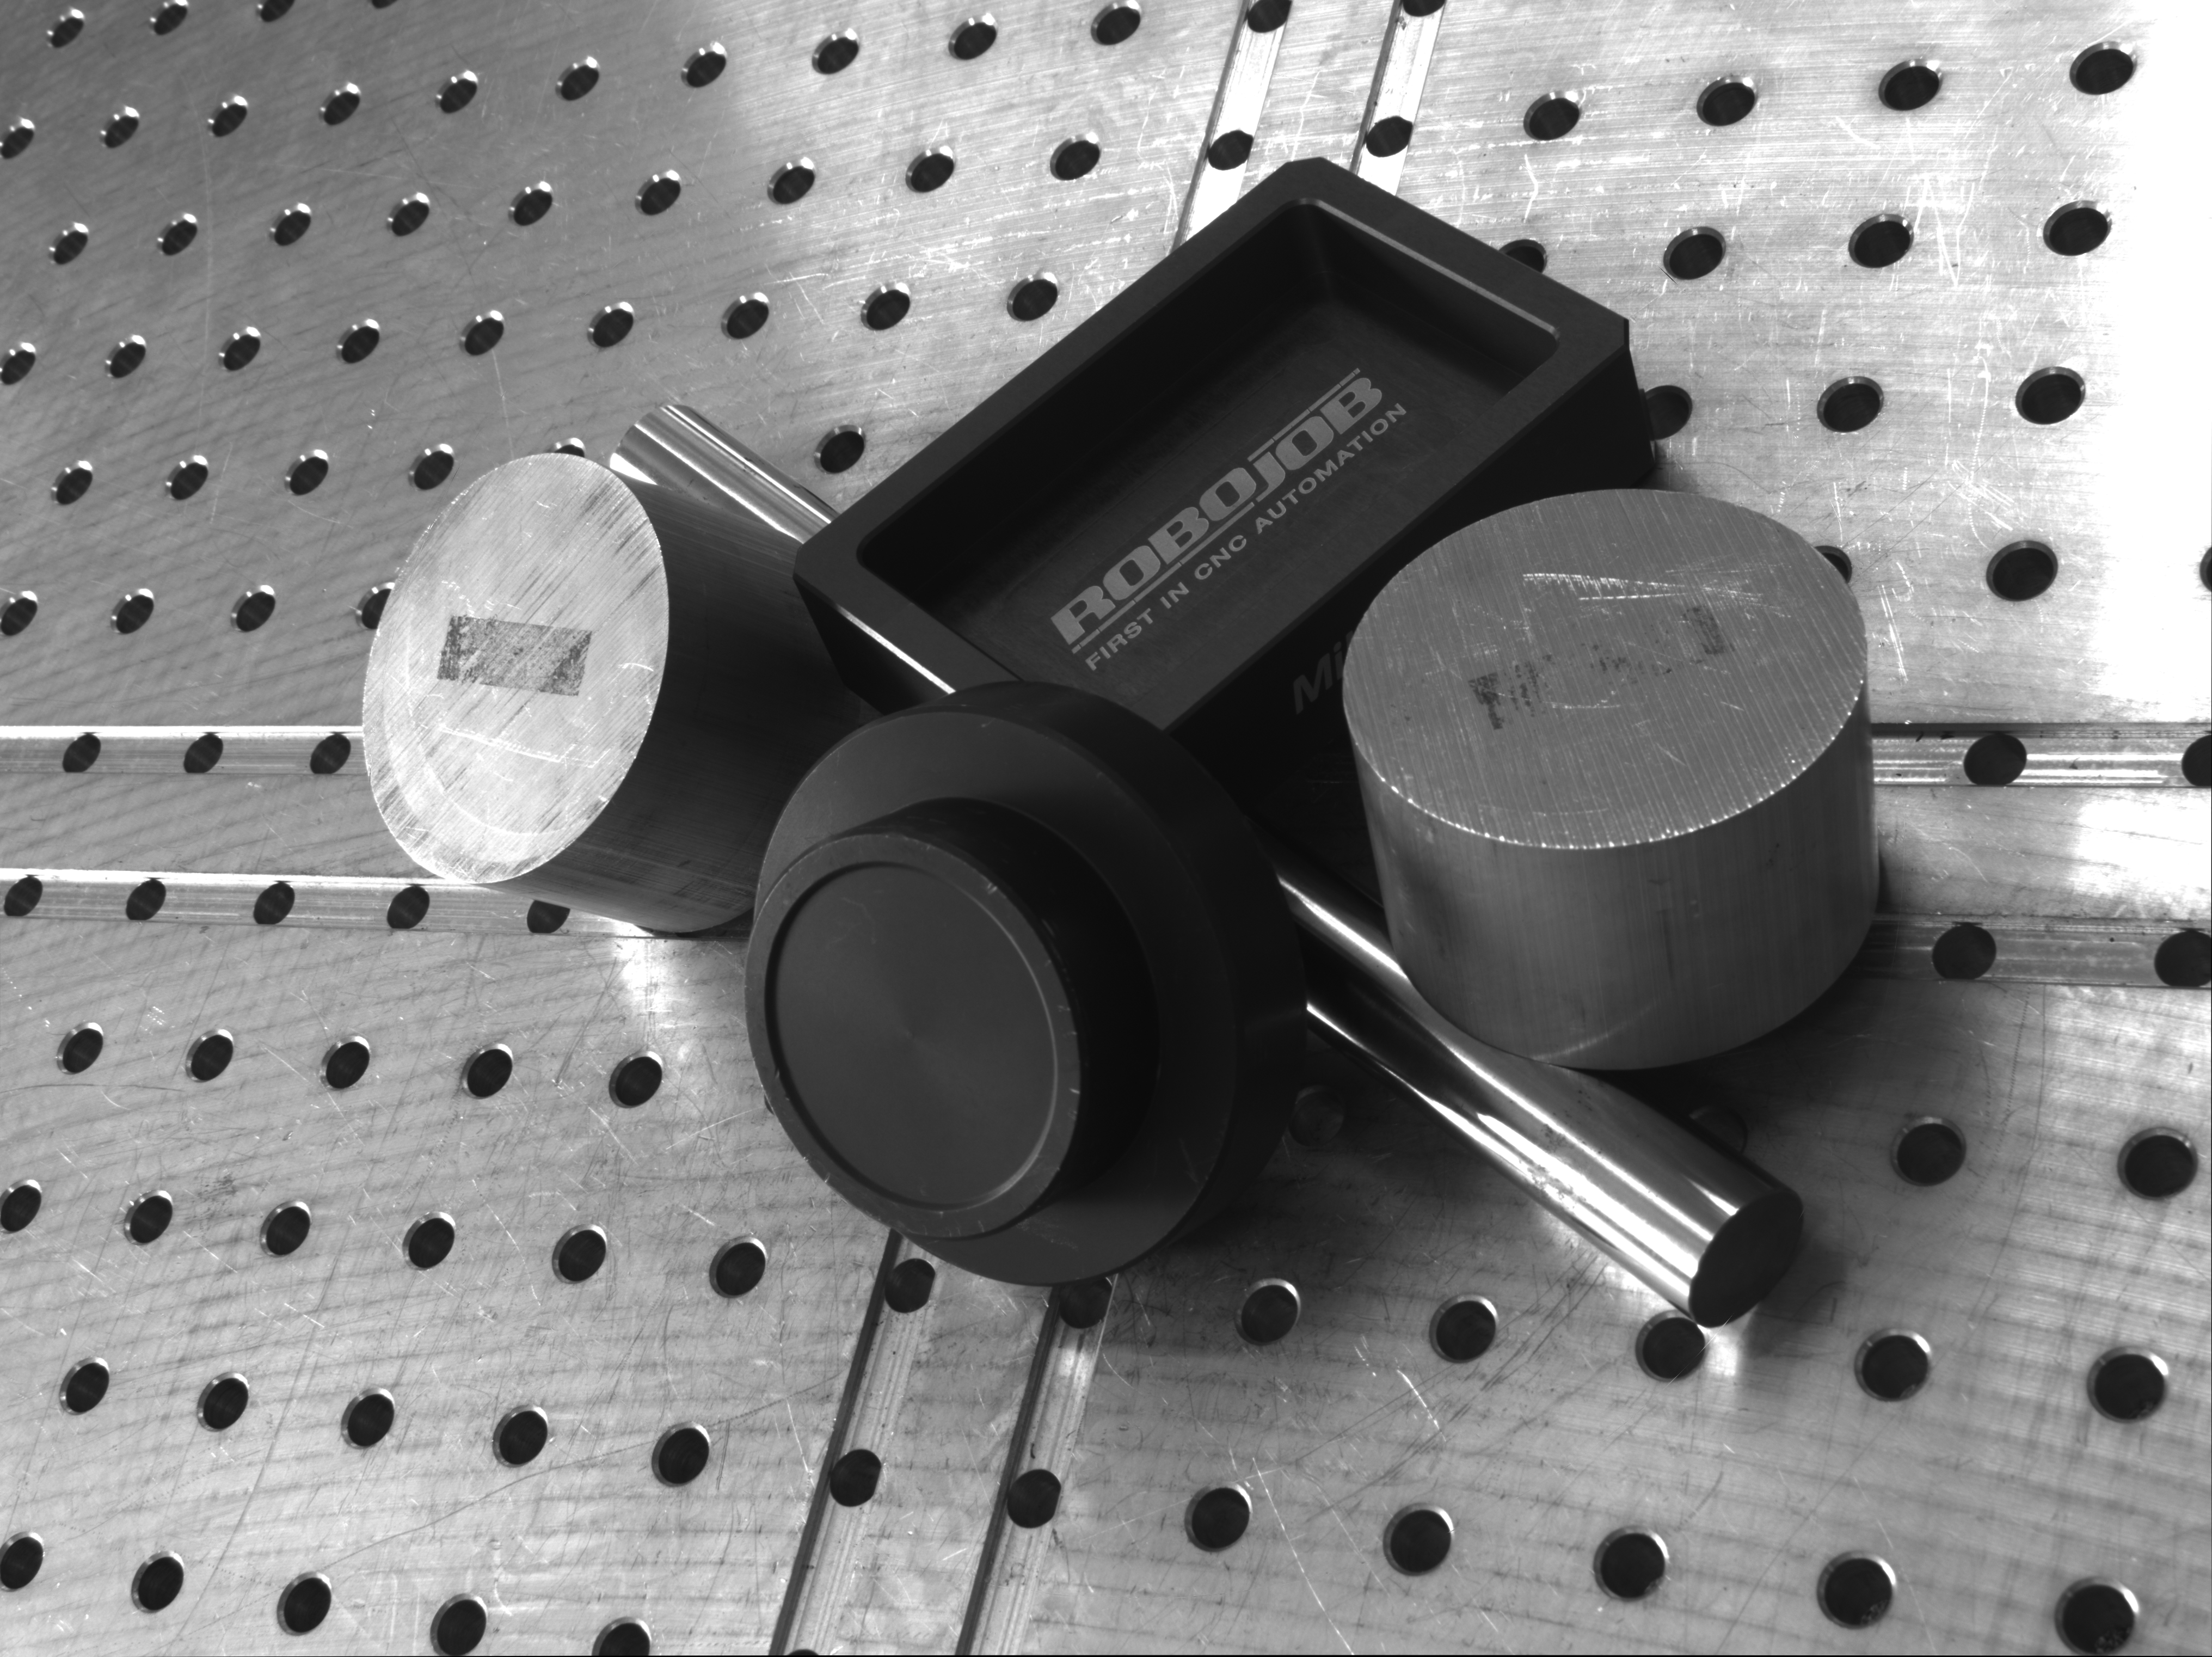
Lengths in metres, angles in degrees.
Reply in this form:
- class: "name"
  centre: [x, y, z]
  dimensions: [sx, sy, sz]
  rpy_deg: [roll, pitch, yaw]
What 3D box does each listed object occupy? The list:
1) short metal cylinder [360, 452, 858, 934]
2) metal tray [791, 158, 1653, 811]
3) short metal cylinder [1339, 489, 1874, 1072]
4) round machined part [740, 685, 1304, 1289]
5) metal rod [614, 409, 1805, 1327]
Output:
- class: "short metal cylinder"
  centre: [-0.092, -0.024, 0.681]
  dimensions: [0.080, 0.050, 0.080]
  rpy_deg: [-11, 72, 36]
- class: "metal tray"
  centre: [0.021, -0.057, 0.650]
  dimensions: [0.130, 0.030, 0.090]
  rpy_deg: [-40, 49, -16]
- class: "short metal cylinder"
  centre: [0.080, -0.008, 0.578]
  dimensions: [0.080, 0.050, 0.080]
  rpy_deg: [-7, 44, 7]
- class: "round machined part"
  centre: [-0.020, 0.029, 0.595]
  dimensions: [0.098, 0.042, 0.098]
  rpy_deg: [11, 110, 32]
- class: "metal rod"
  centre: [0.004, -0.004, 0.649]
  dimensions: [0.025, 0.025, 0.299]
  rpy_deg: [-49, 51, -6]
